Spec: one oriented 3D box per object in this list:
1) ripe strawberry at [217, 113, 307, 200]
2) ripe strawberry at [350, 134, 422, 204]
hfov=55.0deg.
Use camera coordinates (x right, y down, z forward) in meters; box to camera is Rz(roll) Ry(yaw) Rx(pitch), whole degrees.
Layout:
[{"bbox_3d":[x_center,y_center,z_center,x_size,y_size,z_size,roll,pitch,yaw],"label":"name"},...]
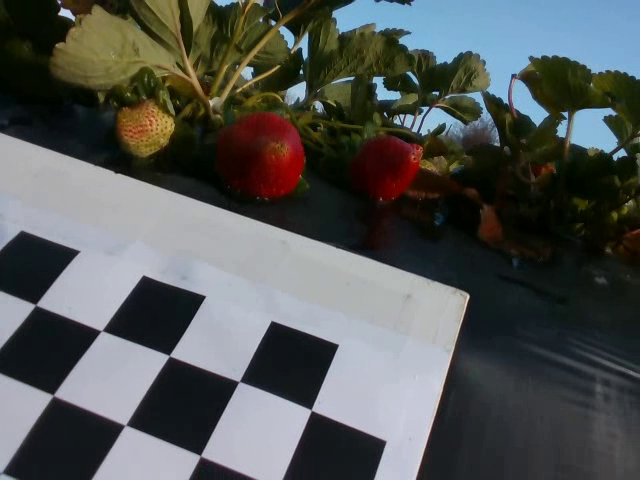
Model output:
[{"bbox_3d":[-0.029,-0.048,0.304,0.050,0.050,0.065,-15,1,-13],"label":"ripe strawberry"},{"bbox_3d":[0.040,-0.043,0.356,0.044,0.042,0.055,-36,12,-25],"label":"ripe strawberry"}]
